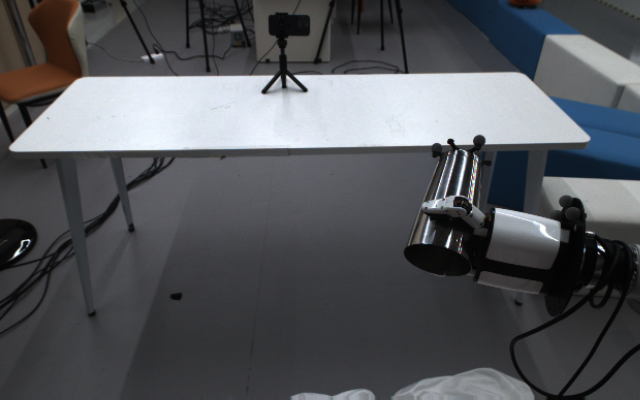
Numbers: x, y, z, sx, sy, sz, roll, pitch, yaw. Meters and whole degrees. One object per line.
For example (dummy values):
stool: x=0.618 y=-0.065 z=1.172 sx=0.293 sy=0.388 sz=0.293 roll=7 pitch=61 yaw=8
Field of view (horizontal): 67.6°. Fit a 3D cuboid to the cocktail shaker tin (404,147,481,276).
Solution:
cocktail shaker tin: x=0.185 y=0.012 z=0.695 sx=0.093 sy=0.093 sz=0.170 roll=13 pitch=61 yaw=16
